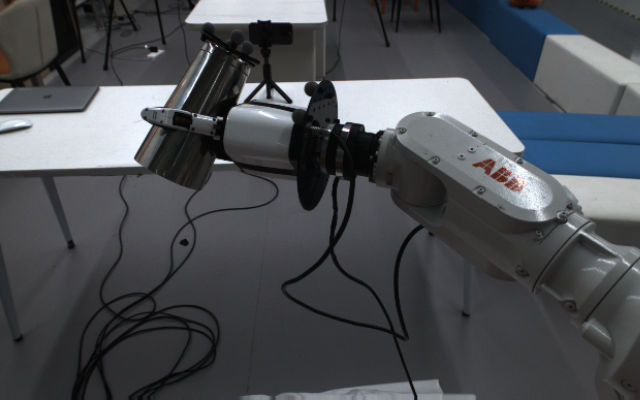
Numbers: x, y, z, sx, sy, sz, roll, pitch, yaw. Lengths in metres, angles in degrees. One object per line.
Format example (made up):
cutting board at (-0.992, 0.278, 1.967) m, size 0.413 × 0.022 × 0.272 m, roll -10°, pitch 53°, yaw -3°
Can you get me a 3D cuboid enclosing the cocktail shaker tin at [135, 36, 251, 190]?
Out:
cocktail shaker tin at (-0.156, -0.111, 0.619) m, size 0.093 × 0.170 × 0.093 m, roll 27°, pitch 2°, yaw -1°
